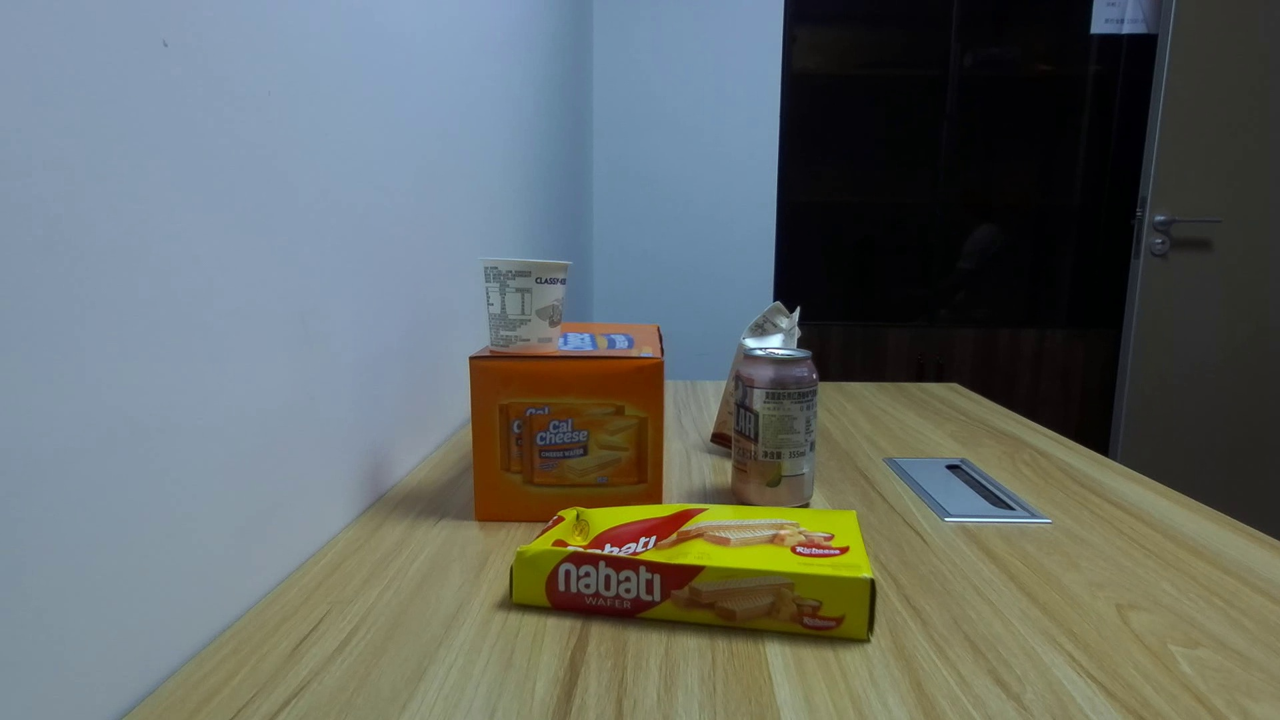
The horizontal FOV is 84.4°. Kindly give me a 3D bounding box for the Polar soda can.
[{"bbox_3d":[0.107,0.054,0.567,0.067,0.125,0.067,0,8,0],"label":"Polar soda can"}]

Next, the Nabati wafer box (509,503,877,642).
[{"bbox_3d":[0.032,0.119,0.426,0.203,0.042,0.096,2,11,12],"label":"Nabati wafer box"}]

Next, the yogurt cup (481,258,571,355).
[{"bbox_3d":[-0.088,-0.043,0.540,0.072,0.068,0.072,3,9,0],"label":"yogurt cup"}]

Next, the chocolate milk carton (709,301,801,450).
[{"bbox_3d":[0.129,0.023,0.701,0.076,0.155,0.090,10,-3,38],"label":"chocolate milk carton"}]

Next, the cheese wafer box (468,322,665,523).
[{"bbox_3d":[-0.052,0.044,0.625,0.148,0.129,0.222,1,9,1],"label":"cheese wafer box"}]
